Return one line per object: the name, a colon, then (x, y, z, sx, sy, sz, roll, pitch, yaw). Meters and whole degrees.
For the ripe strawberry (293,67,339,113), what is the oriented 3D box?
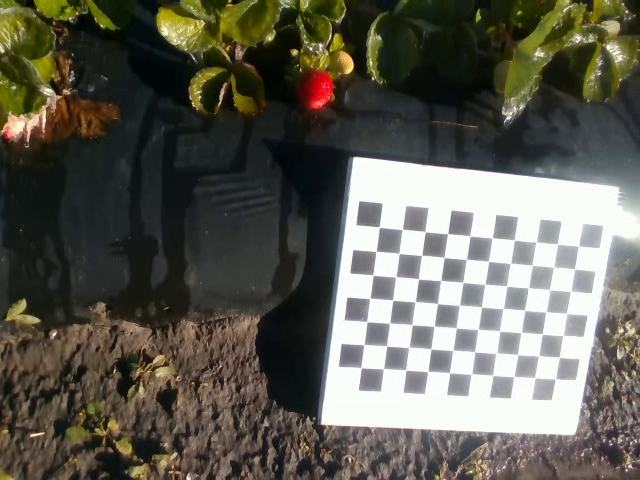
ripe strawberry: (-0.003, -0.107, 0.445, 0.039, 0.040, 0.039, -3, 34, 1)
